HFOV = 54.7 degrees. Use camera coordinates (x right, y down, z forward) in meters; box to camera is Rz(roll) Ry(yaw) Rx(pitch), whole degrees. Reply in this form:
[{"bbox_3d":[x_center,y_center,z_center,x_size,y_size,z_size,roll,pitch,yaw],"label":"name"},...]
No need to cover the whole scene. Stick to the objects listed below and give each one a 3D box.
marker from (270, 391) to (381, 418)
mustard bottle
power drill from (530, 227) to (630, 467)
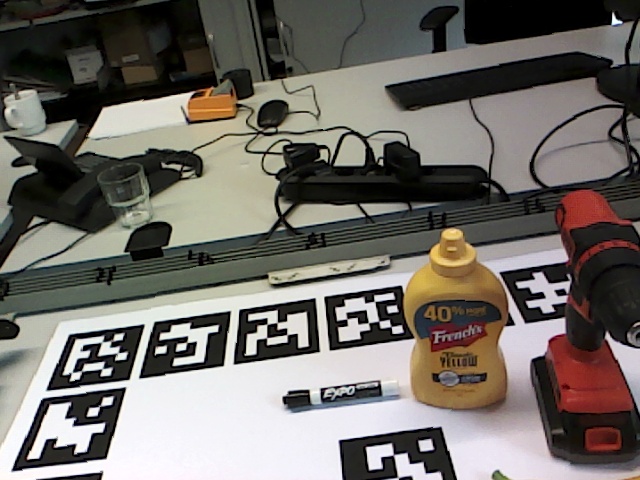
[{"bbox_3d":[0.005,0.179,0.671,0.121,0.019,0.020,-7,35,5],"label":"marker"},{"bbox_3d":[0.118,0.097,0.608,0.096,0.191,0.058,-1,34,12],"label":"mustard bottle"},{"bbox_3d":[0.222,0.105,0.538,0.057,0.186,0.184,1,33,13],"label":"power drill"}]
